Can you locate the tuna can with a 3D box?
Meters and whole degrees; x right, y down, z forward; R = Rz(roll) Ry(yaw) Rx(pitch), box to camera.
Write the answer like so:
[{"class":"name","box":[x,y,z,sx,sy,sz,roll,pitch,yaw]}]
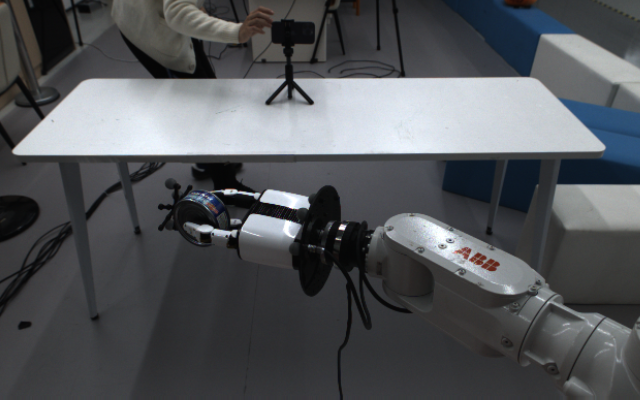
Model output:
[{"class":"tuna can","box":[-0.182,0.028,0.746,0.085,0.085,0.034,14,32,17]}]
